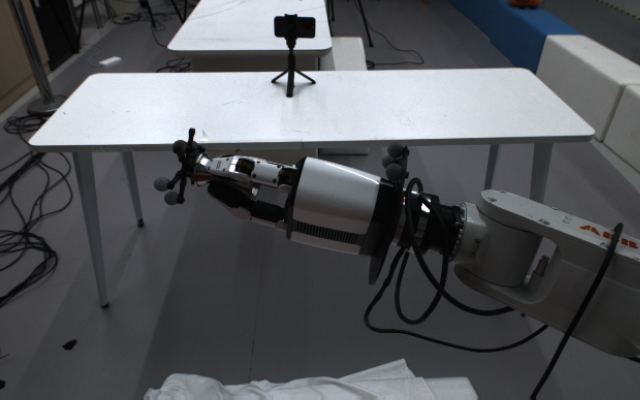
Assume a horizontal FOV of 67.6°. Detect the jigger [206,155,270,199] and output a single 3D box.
[{"bbox_3d":[-0.097,-0.030,0.553,0.071,0.043,0.043,13,36,4],"label":"jigger"}]
